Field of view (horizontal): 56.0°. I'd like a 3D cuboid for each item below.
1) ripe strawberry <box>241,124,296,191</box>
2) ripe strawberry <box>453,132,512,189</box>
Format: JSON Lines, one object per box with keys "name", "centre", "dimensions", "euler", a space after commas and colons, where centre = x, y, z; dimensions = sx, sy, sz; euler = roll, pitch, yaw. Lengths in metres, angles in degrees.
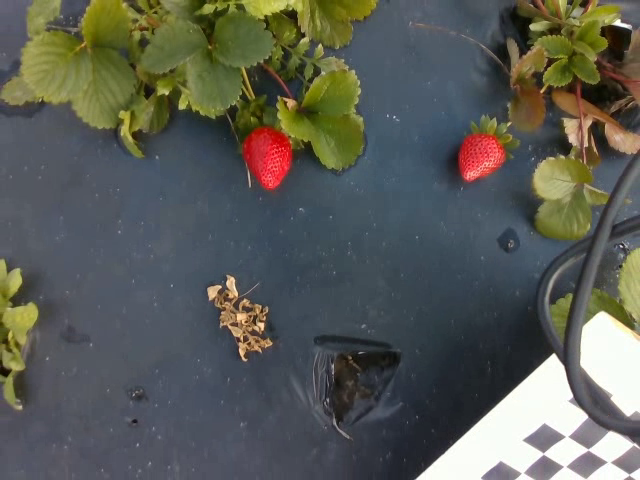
{"name": "ripe strawberry", "centre": [-0.040, -0.055, 0.434], "dimensions": [0.051, 0.050, 0.046], "euler": [30, -48, -24]}
{"name": "ripe strawberry", "centre": [0.117, -0.057, 0.449], "dimensions": [0.042, 0.052, 0.044], "euler": [5, -39, 46]}
